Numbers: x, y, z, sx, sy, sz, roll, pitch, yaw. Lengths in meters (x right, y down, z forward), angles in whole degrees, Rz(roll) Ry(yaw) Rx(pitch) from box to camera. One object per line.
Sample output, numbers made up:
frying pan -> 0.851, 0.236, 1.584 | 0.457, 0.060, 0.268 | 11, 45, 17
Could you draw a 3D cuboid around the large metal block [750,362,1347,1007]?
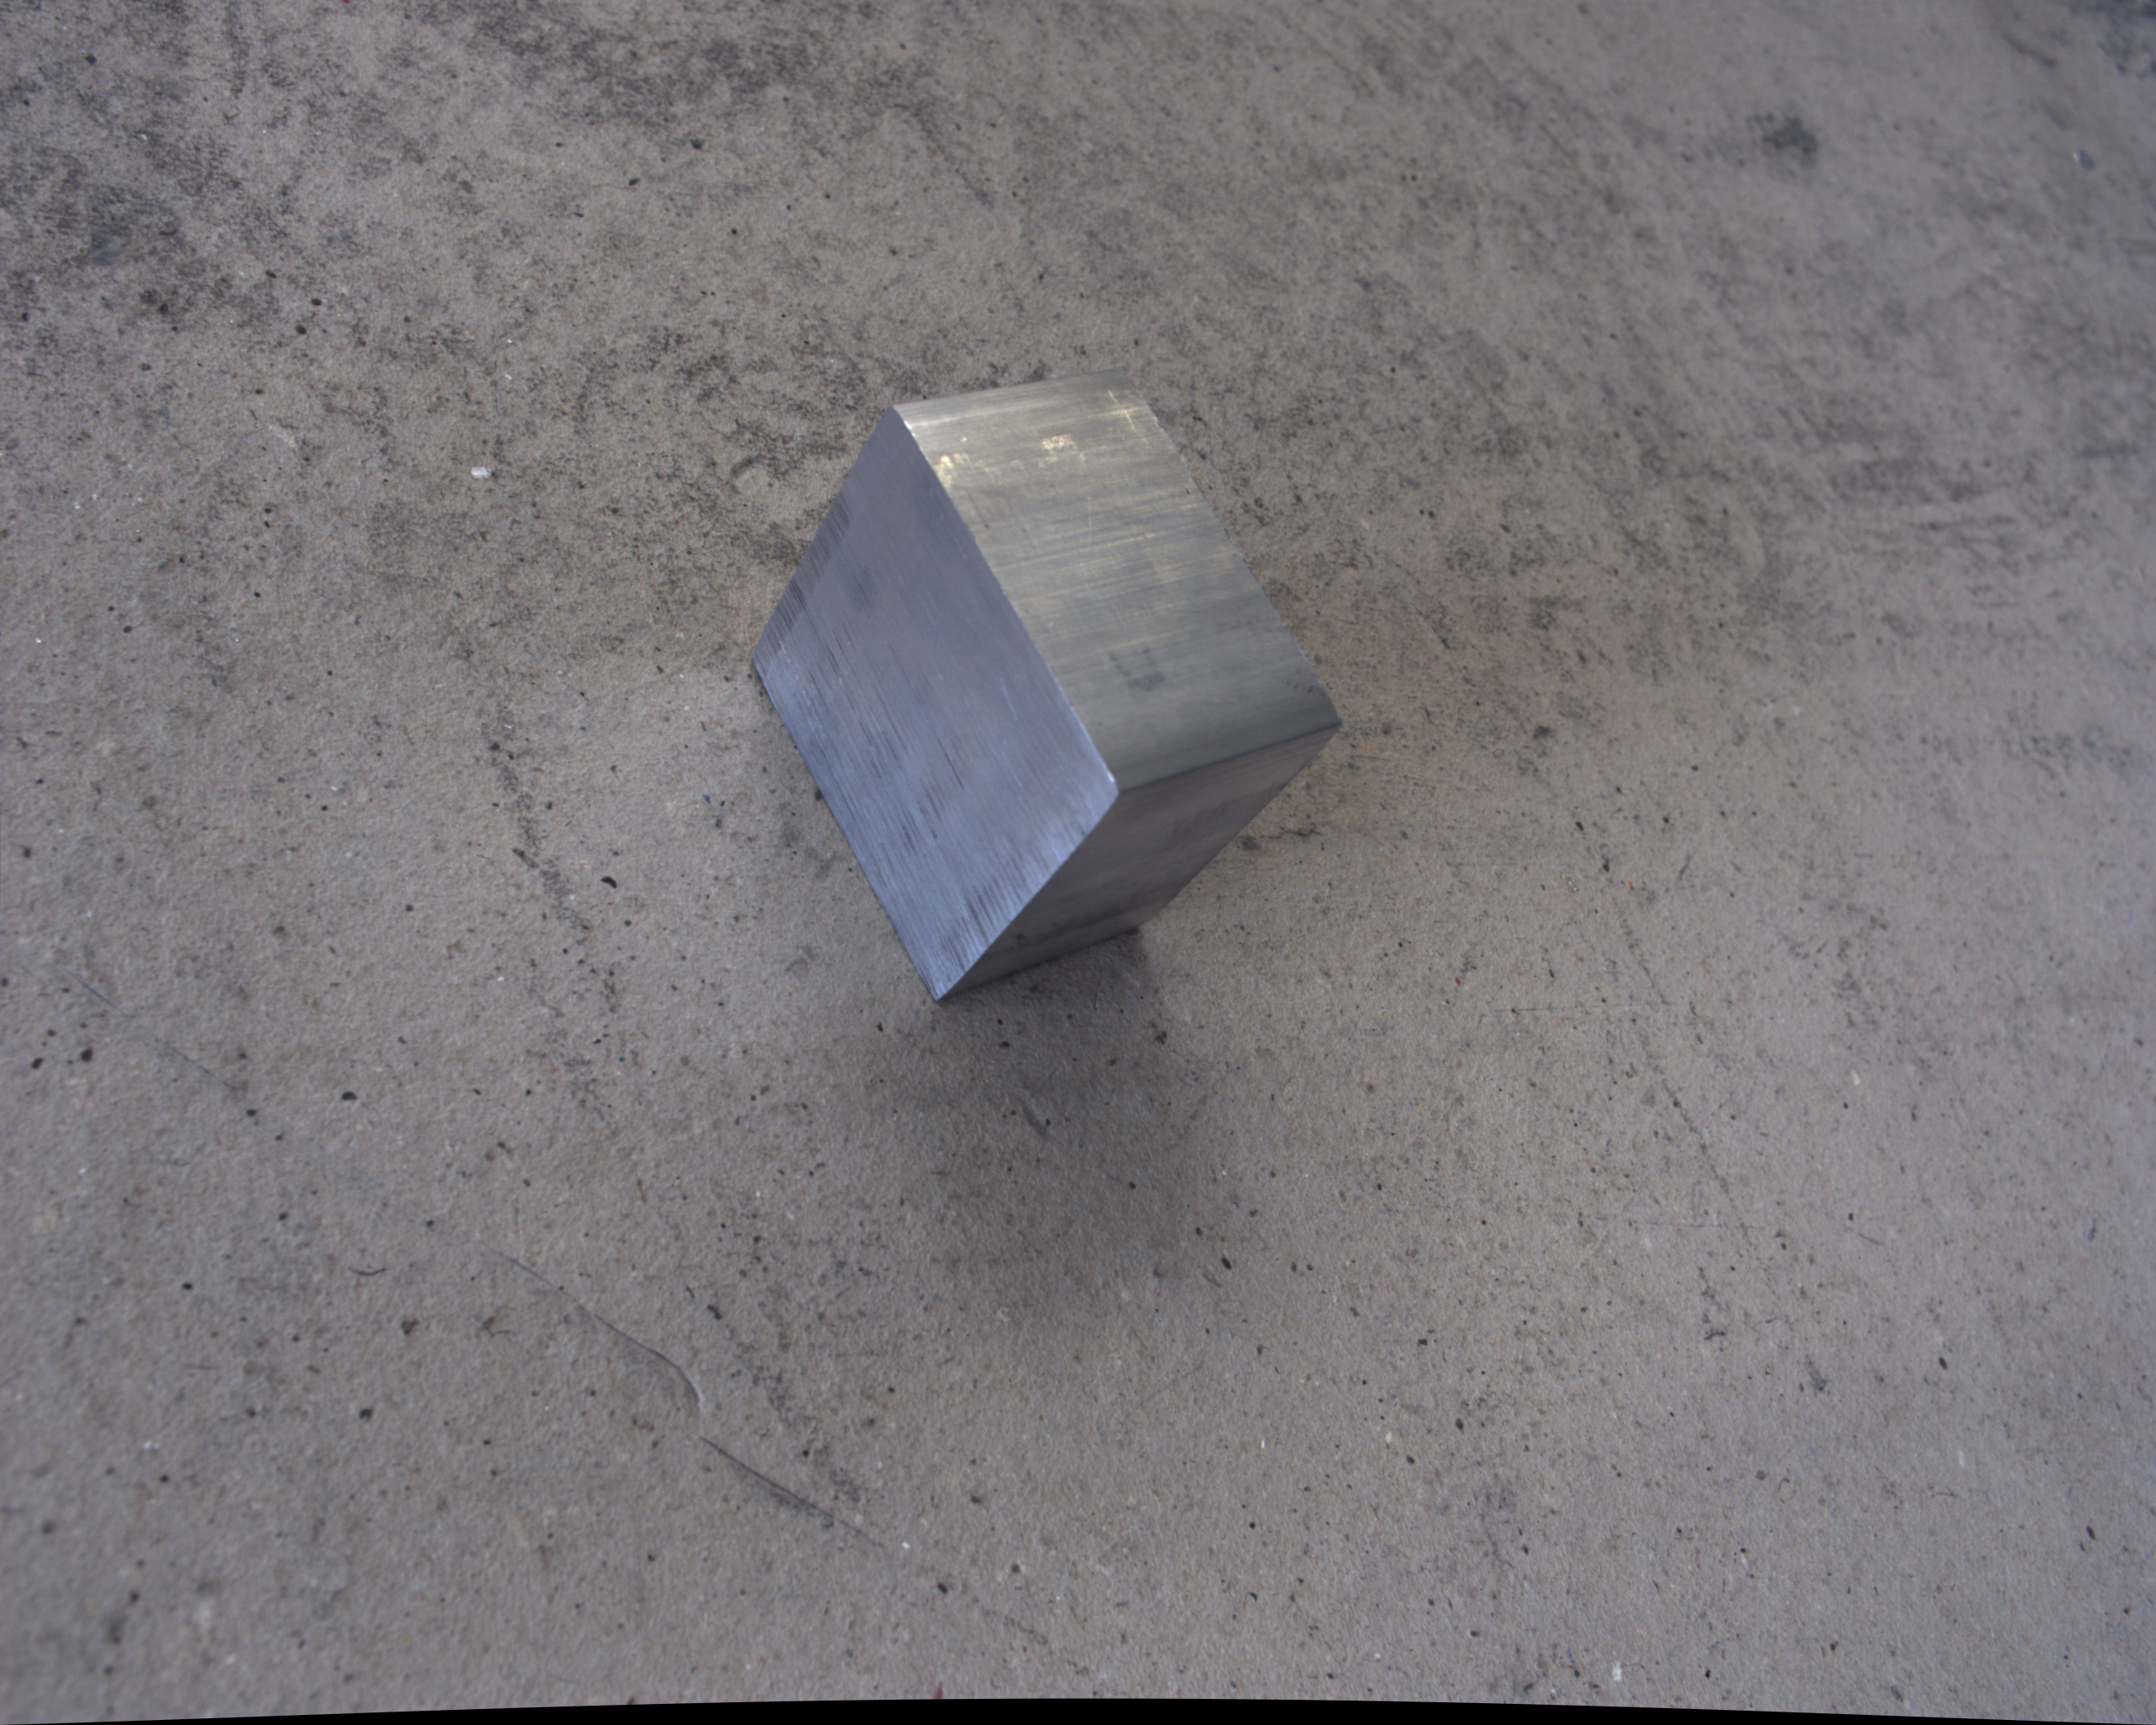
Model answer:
large metal block -> -0.009, -0.032, 0.383 | 0.050, 0.080, 0.080 | -19, 72, -35
